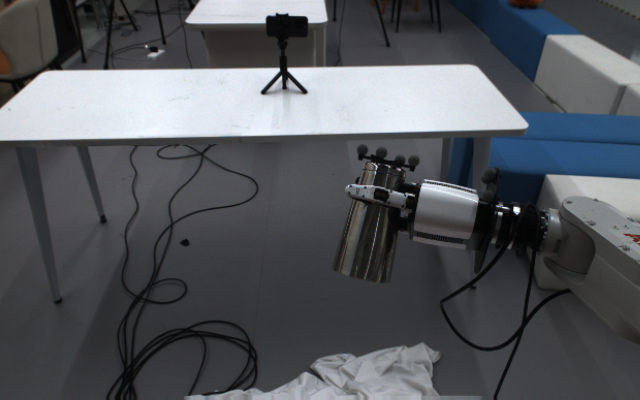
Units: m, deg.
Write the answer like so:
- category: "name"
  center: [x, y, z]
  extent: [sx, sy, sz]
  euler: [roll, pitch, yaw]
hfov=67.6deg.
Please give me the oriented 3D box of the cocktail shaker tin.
- category: "cocktail shaker tin"
  center: [0.084, 0.029, 0.744]
  extent: [0.093, 0.170, 0.093]
  euler: [13, 1, 0]
